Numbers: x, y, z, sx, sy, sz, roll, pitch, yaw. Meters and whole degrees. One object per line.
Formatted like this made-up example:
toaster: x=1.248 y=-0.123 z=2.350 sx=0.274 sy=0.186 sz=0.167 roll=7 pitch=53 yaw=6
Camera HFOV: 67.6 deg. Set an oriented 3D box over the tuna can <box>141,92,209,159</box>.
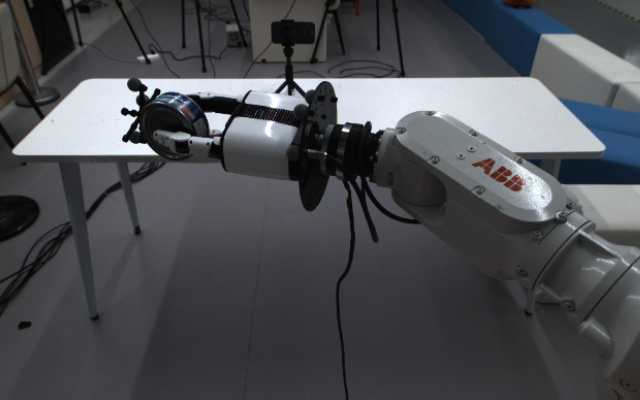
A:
tuna can: x=-0.189 y=-0.098 z=0.635 sx=0.085 sy=0.085 sz=0.034 roll=10 pitch=36 yaw=11
